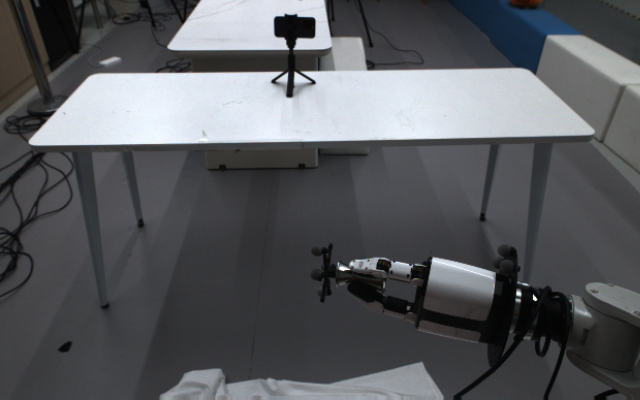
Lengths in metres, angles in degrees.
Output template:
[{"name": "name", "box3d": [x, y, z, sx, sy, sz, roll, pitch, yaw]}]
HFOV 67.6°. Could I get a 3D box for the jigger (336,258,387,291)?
[{"name": "jigger", "box3d": [0.067, 0.104, 0.695, 0.071, 0.043, 0.043, 3, 34, 13]}]
